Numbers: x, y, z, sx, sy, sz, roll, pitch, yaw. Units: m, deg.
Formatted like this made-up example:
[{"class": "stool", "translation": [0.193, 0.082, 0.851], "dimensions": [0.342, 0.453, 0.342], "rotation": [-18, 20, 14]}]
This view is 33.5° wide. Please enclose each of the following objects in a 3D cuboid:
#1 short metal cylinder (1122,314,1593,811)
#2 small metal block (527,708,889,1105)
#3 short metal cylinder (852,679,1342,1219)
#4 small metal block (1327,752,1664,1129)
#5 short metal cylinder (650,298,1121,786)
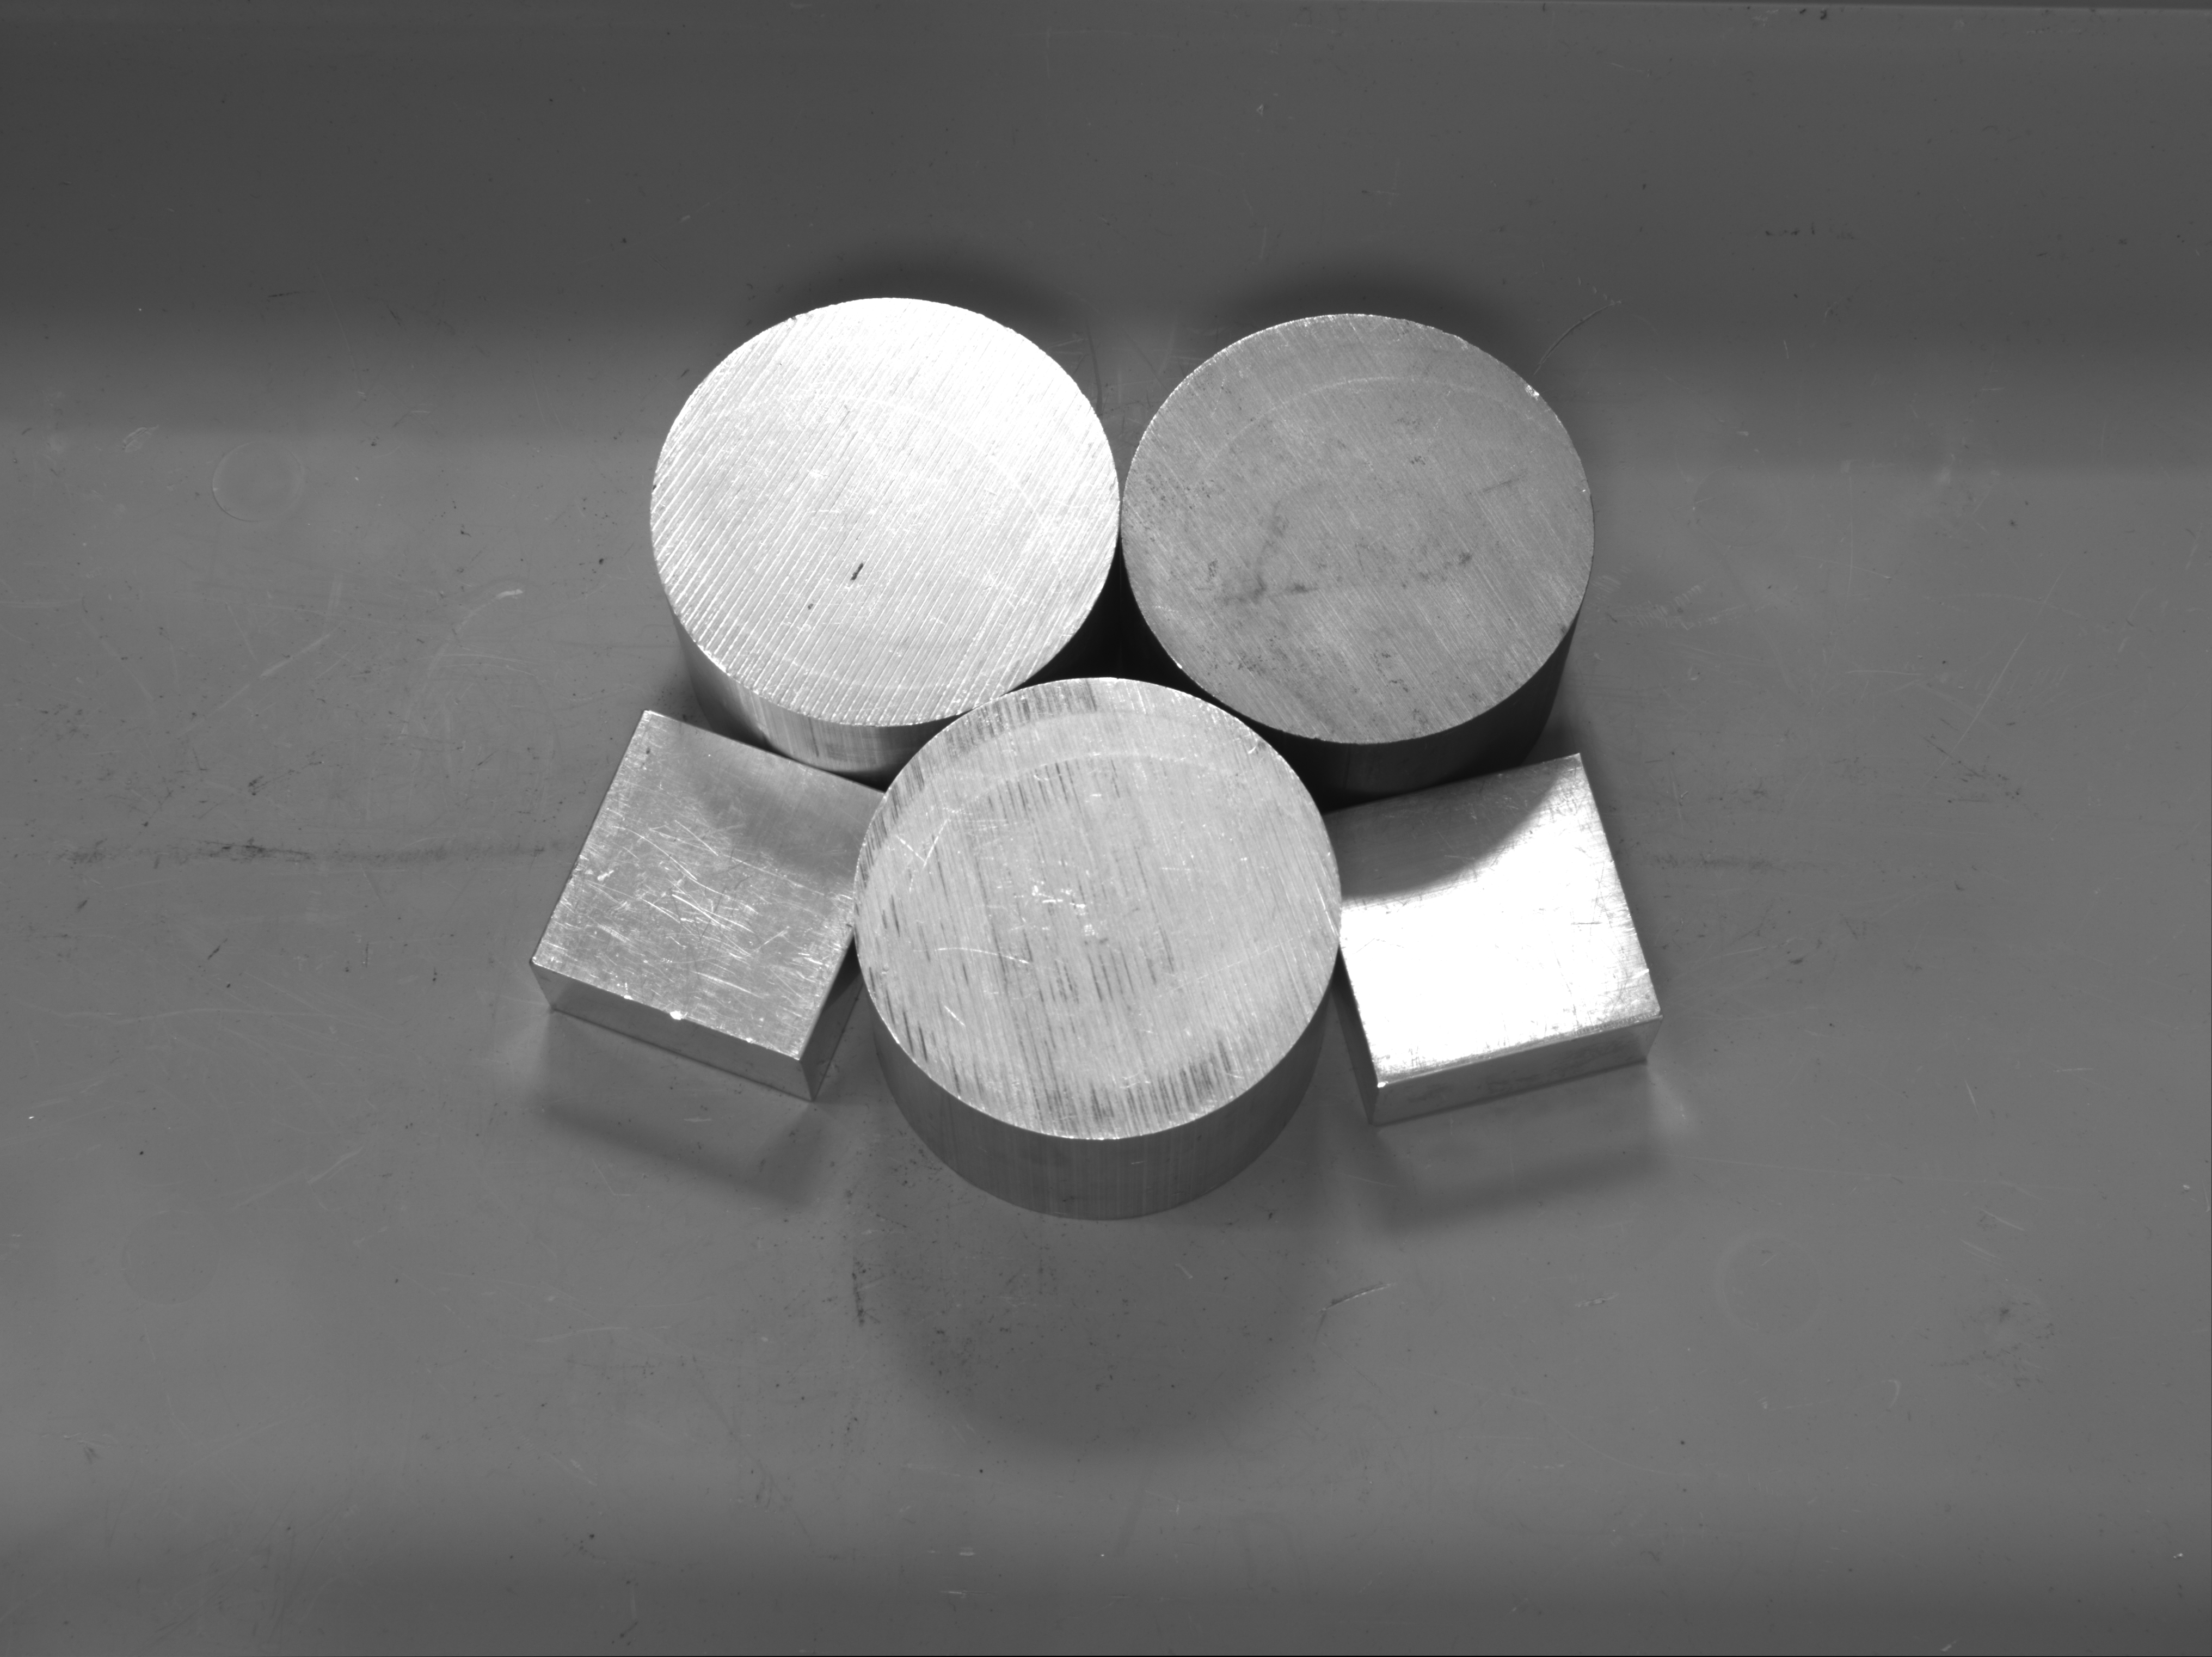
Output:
[{"class": "short metal cylinder", "translation": [0.043, -0.043, 0.647], "dimensions": [0.080, 0.050, 0.080], "rotation": [0, 70, 0]}, {"class": "small metal block", "translation": [-0.066, 0.014, 0.639], "dimensions": [0.050, 0.025, 0.050], "rotation": [20, 71, 7]}, {"class": "short metal cylinder", "translation": [-0.001, 0.021, 0.623], "dimensions": [0.080, 0.050, 0.080], "rotation": [0, 70, 0]}, {"class": "small metal block", "translation": [0.064, 0.019, 0.637], "dimensions": [0.050, 0.025, 0.050], "rotation": [-13, 70, -5]}, {"class": "short metal cylinder", "translation": [-0.037, -0.046, 0.648], "dimensions": [0.080, 0.050, 0.080], "rotation": [0, 70, 0]}]
